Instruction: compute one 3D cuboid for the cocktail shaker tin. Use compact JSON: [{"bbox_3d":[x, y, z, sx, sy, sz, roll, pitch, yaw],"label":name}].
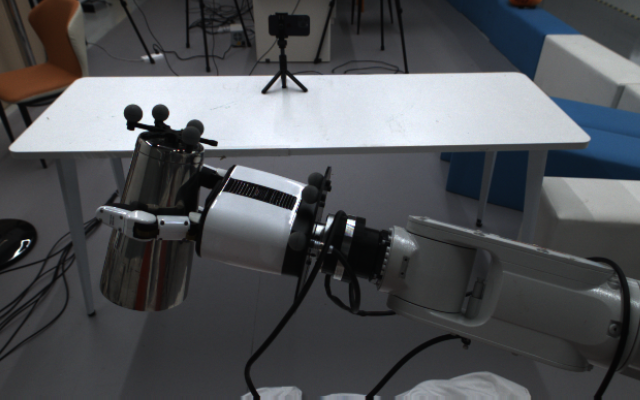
[{"bbox_3d":[-0.170,0.020,0.509,0.093,0.170,0.093,15,17,-5],"label":"cocktail shaker tin"}]
